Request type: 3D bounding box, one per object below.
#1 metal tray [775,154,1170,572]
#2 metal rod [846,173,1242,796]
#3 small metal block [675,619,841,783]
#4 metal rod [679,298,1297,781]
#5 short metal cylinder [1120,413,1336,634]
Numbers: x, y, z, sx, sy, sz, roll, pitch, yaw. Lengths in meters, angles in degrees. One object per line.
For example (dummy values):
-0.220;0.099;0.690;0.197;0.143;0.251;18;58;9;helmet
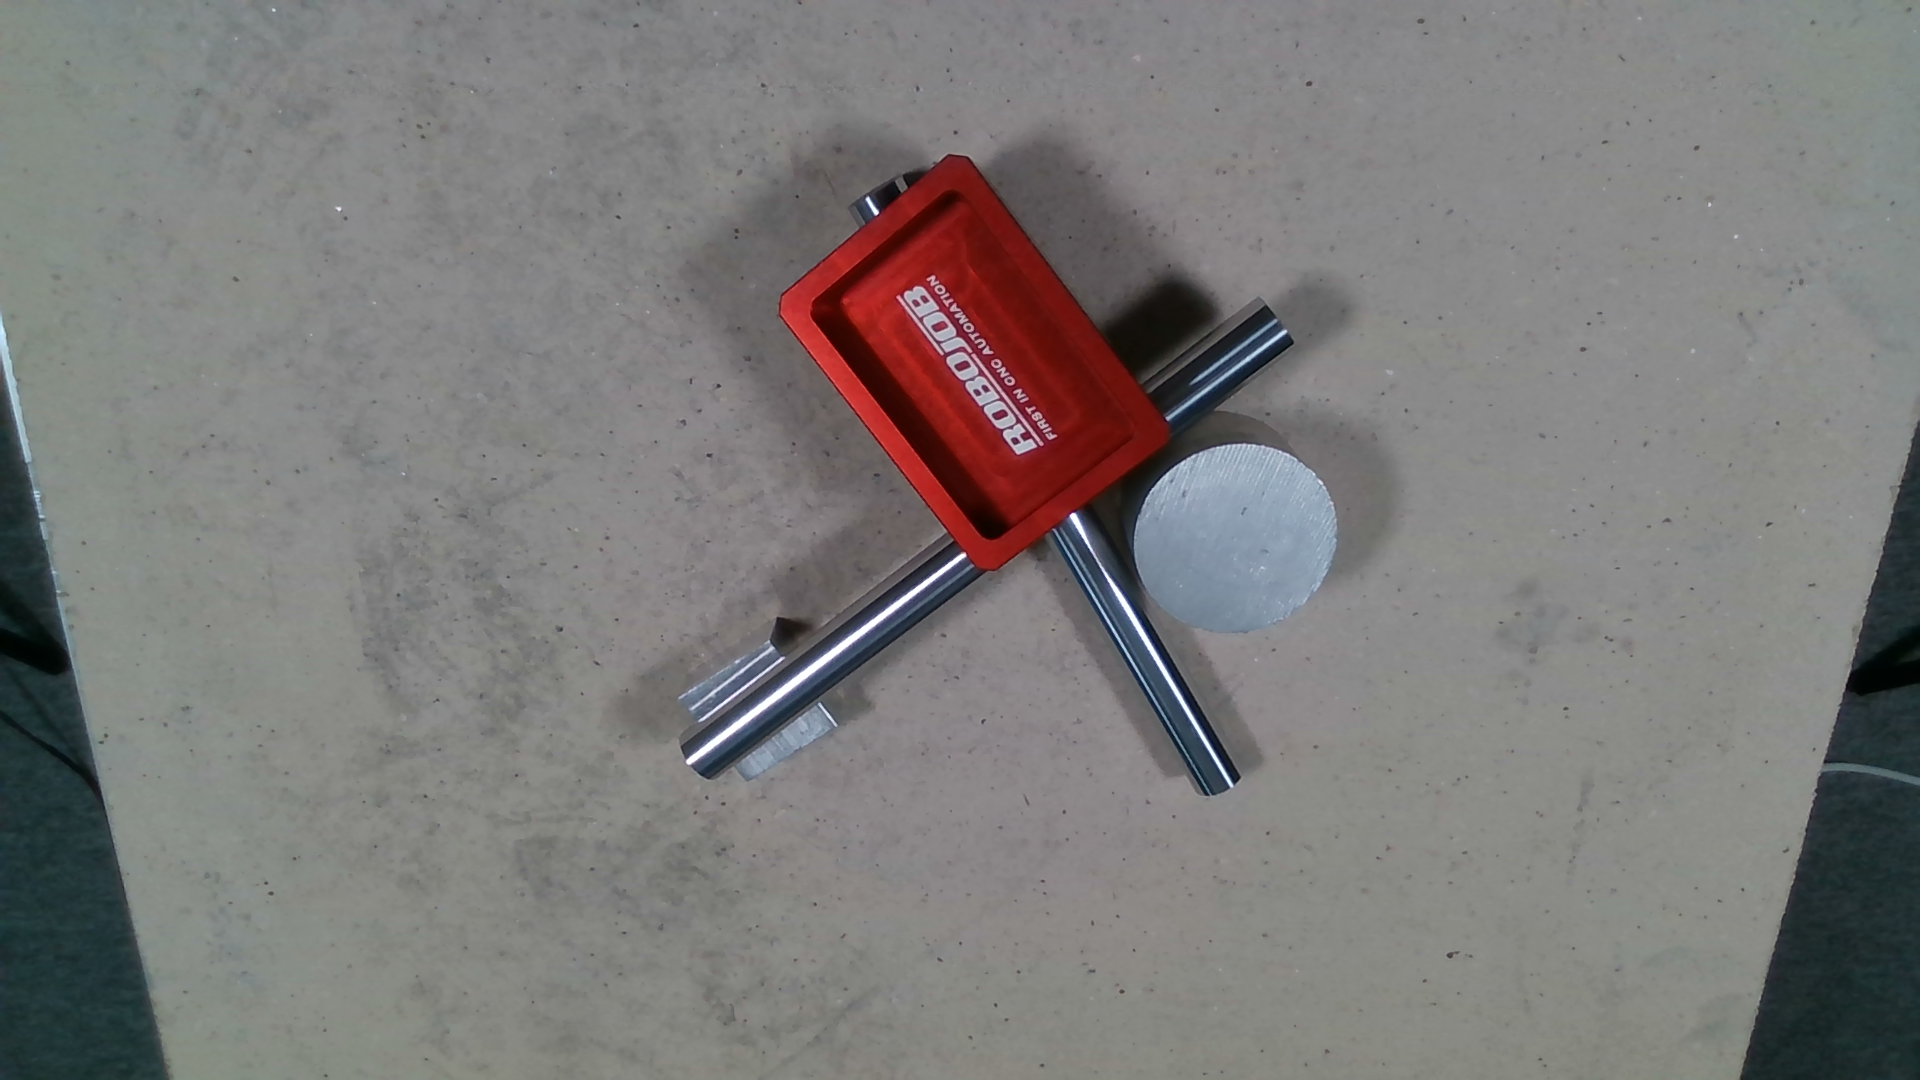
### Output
0.006;-0.065;0.517;0.090;0.030;0.130;-37;94;12;metal tray
0.042;-0.014;0.580;0.025;0.025;0.301;-28;108;10;metal rod
-0.089;0.071;0.611;0.050;0.025;0.050;-32;107;11;small metal block
0.005;0.005;0.560;0.300;0.025;0.025;-37;106;13;metal rod
0.109;-0.008;0.568;0.080;0.050;0.080;0;110;0;short metal cylinder
